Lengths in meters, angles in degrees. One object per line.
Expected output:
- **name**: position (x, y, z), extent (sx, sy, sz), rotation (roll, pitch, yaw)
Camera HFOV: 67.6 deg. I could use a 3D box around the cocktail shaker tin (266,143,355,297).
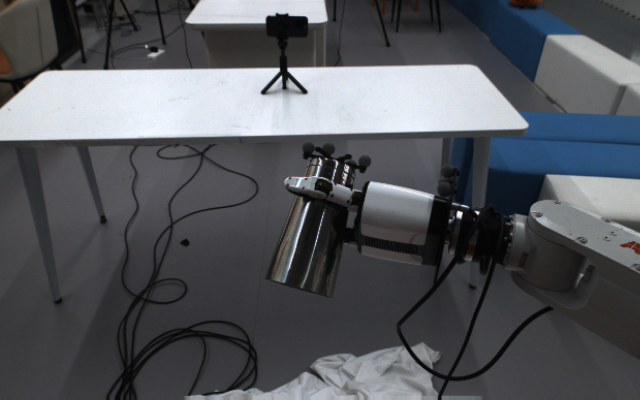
- **cocktail shaker tin**: position (-0.003, 0.032, 0.642), extent (0.093, 0.093, 0.170), rotation (13, 77, 15)
